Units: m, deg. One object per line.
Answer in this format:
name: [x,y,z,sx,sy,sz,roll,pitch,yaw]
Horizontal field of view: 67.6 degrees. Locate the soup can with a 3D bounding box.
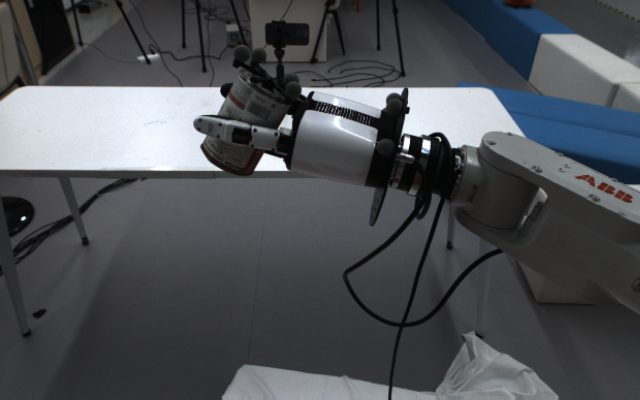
soup can: [-0.082,-0.086,0.547,0.067,0.101,0.067,28,22,-12]
